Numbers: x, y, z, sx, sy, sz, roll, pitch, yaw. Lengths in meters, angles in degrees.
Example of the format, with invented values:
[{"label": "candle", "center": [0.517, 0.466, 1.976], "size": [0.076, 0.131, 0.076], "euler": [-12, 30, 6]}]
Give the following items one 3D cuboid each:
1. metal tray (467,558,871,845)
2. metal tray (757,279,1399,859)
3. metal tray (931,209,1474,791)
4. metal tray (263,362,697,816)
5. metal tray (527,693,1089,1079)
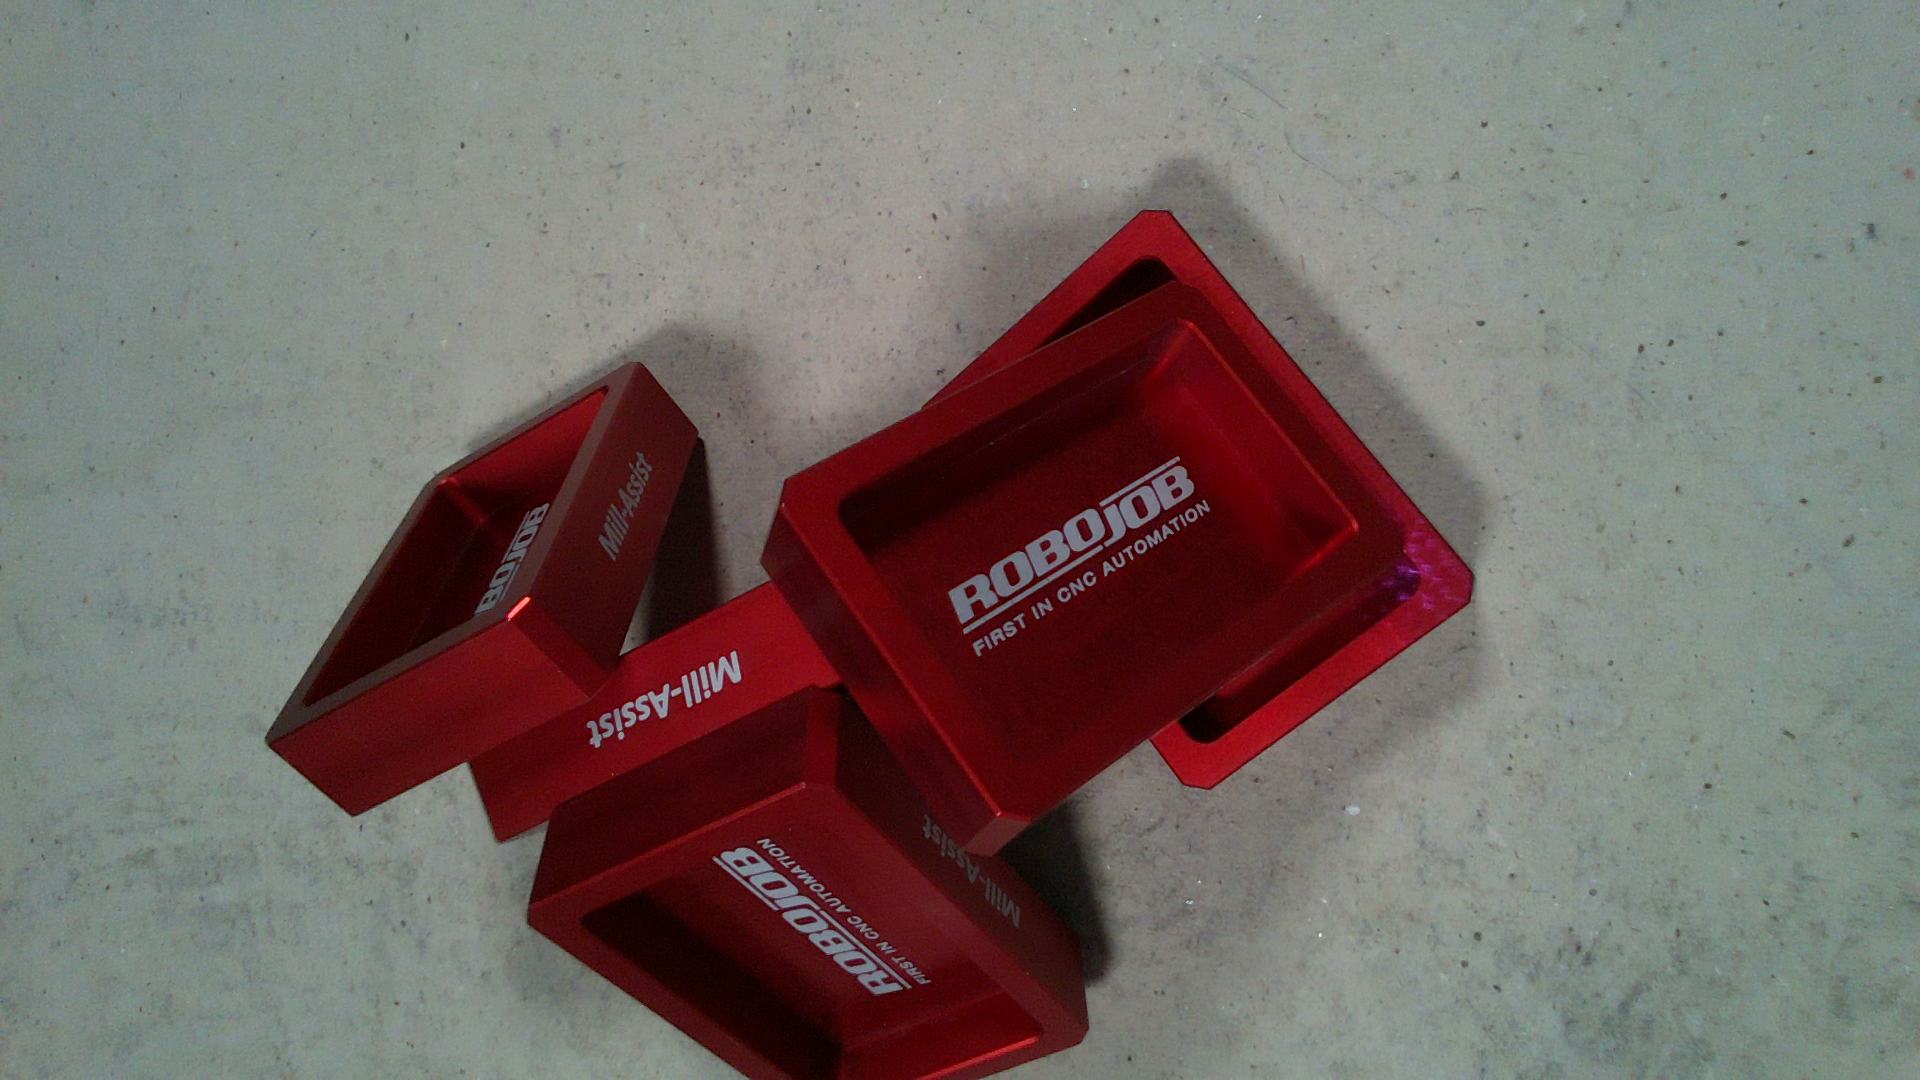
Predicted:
[{"label": "metal tray", "center": [-0.059, 0.040, 0.382], "size": [0.130, 0.090, 0.030], "euler": [-27, 81, 18]}, {"label": "metal tray", "center": [0.030, 0.002, 0.326], "size": [0.130, 0.030, 0.090], "euler": [-30, 77, -28]}, {"label": "metal tray", "center": [0.061, -0.011, 0.371], "size": [0.090, 0.030, 0.130], "euler": [-40, 77, 16]}, {"label": "metal tray", "center": [-0.130, 0.008, 0.393], "size": [0.090, 0.130, 0.030], "euler": [-26, 120, 18]}, {"label": "metal tray", "center": [-0.035, 0.104, 0.362], "size": [0.090, 0.030, 0.130], "euler": [-26, 126, 19]}]
